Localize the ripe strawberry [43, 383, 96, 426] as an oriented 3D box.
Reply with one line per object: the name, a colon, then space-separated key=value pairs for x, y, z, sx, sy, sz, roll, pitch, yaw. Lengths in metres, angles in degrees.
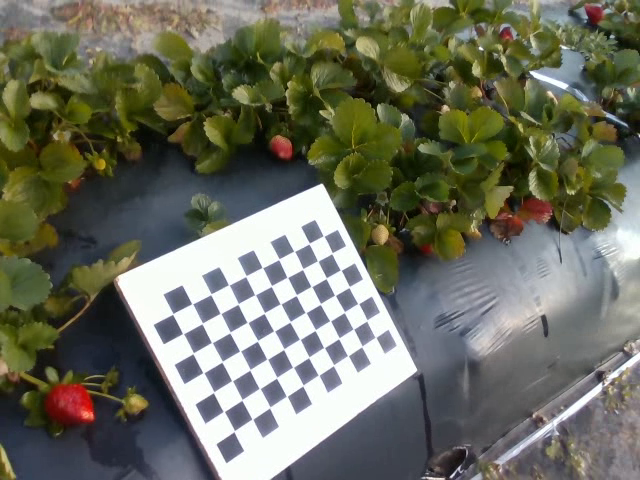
ripe strawberry: x=-0.240 y=0.166 z=0.590 sx=0.057 sy=0.043 sz=0.052 roll=13 pitch=-31 yaw=41
